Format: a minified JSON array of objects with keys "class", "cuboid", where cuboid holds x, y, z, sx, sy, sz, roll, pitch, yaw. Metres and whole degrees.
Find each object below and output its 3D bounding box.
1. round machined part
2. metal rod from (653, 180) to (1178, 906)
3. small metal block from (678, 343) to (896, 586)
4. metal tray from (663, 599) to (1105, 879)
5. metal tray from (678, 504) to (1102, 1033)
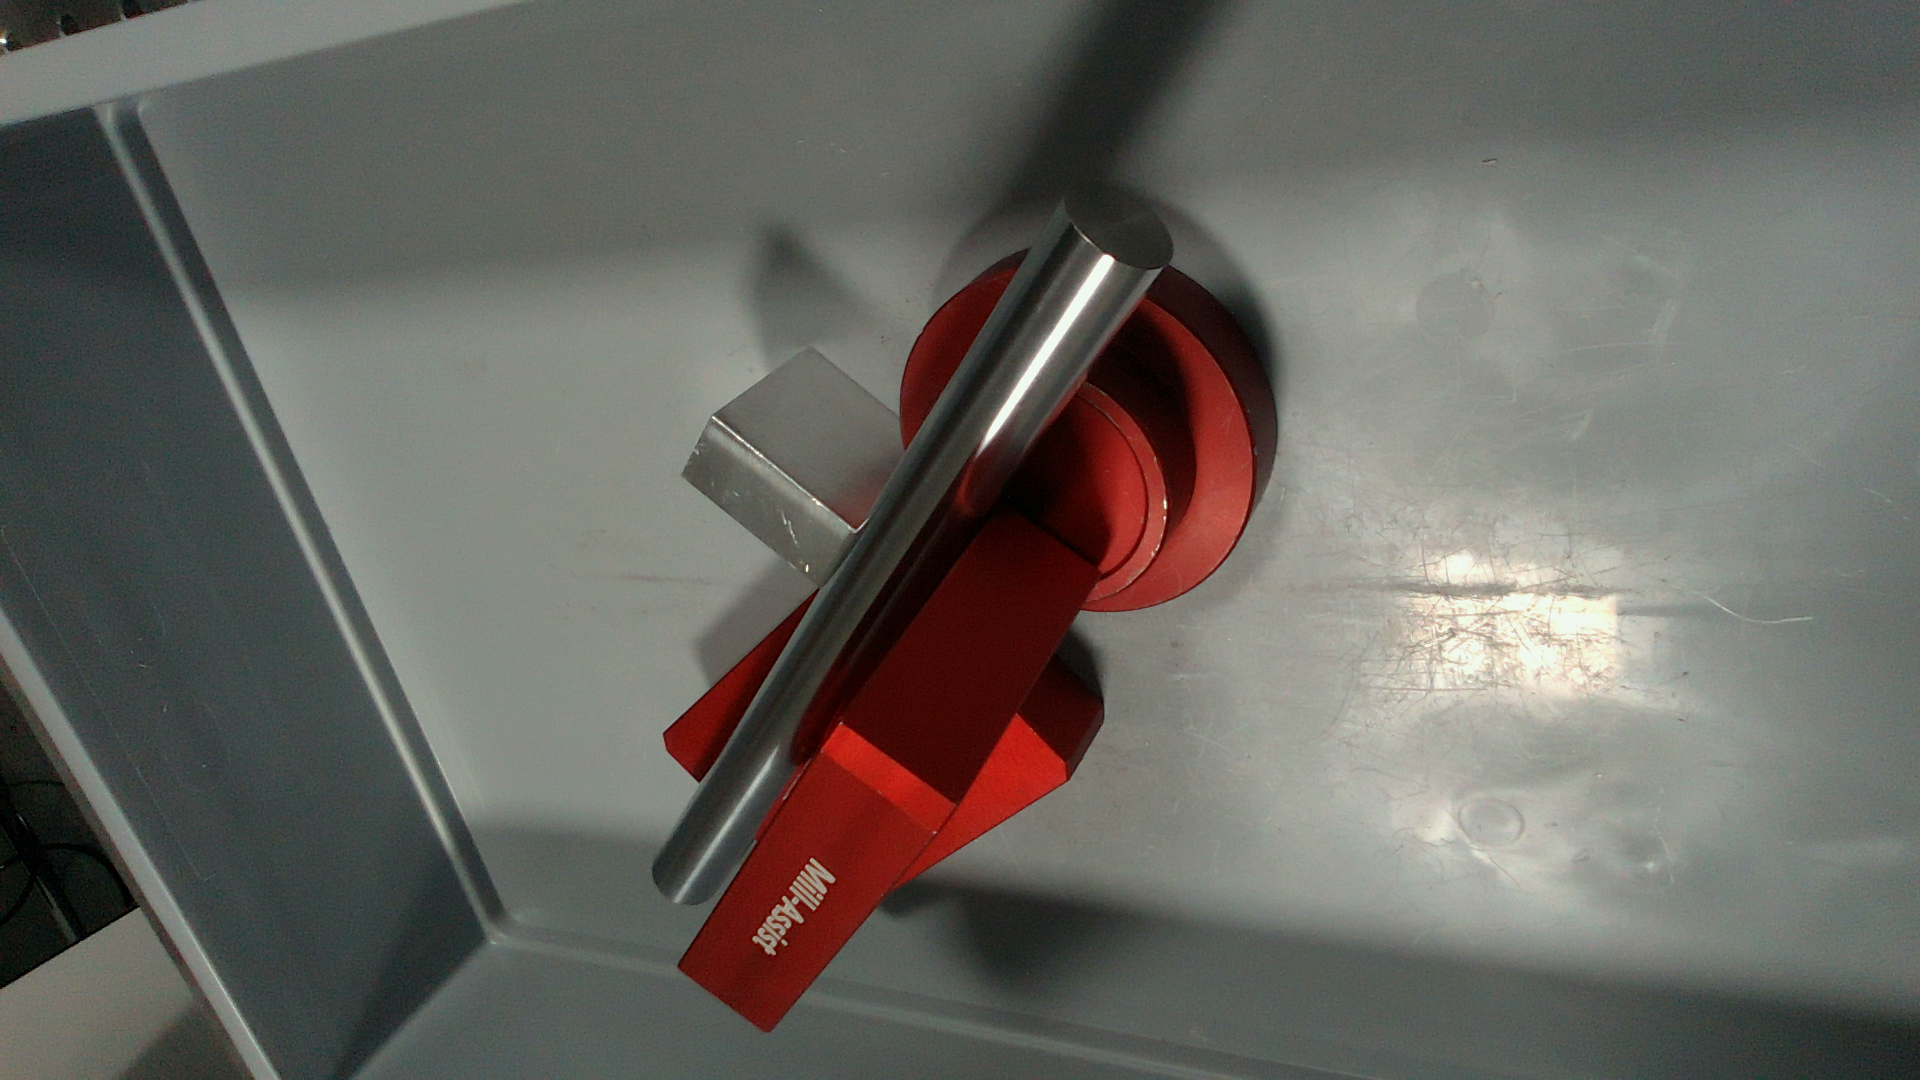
[{"class":"round machined part","cuboid":[0.027,-0.023,0.351,0.098,0.042,0.098,13,124,21]},{"class":"metal rod","cuboid":[-0.031,0.026,0.374,0.025,0.025,0.299,38,133,3]},{"class":"small metal block","cuboid":[-0.041,-0.021,0.384,0.050,0.050,0.025,39,129,2]},{"class":"metal tray","cuboid":[-0.028,0.061,0.441,0.090,0.030,0.130,46,129,-4]},{"class":"metal tray","cuboid":[-0.020,0.060,0.348,0.030,0.090,0.130,35,136,2]}]
